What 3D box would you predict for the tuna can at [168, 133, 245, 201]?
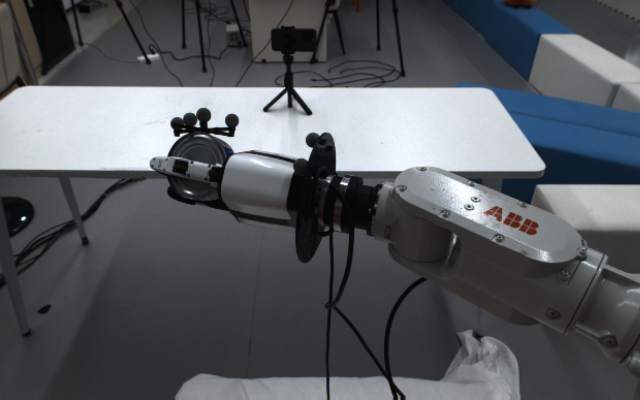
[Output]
[{"bbox_3d":[-0.150,-0.041,0.619,0.085,0.085,0.034,15,0,18],"label":"tuna can"}]
